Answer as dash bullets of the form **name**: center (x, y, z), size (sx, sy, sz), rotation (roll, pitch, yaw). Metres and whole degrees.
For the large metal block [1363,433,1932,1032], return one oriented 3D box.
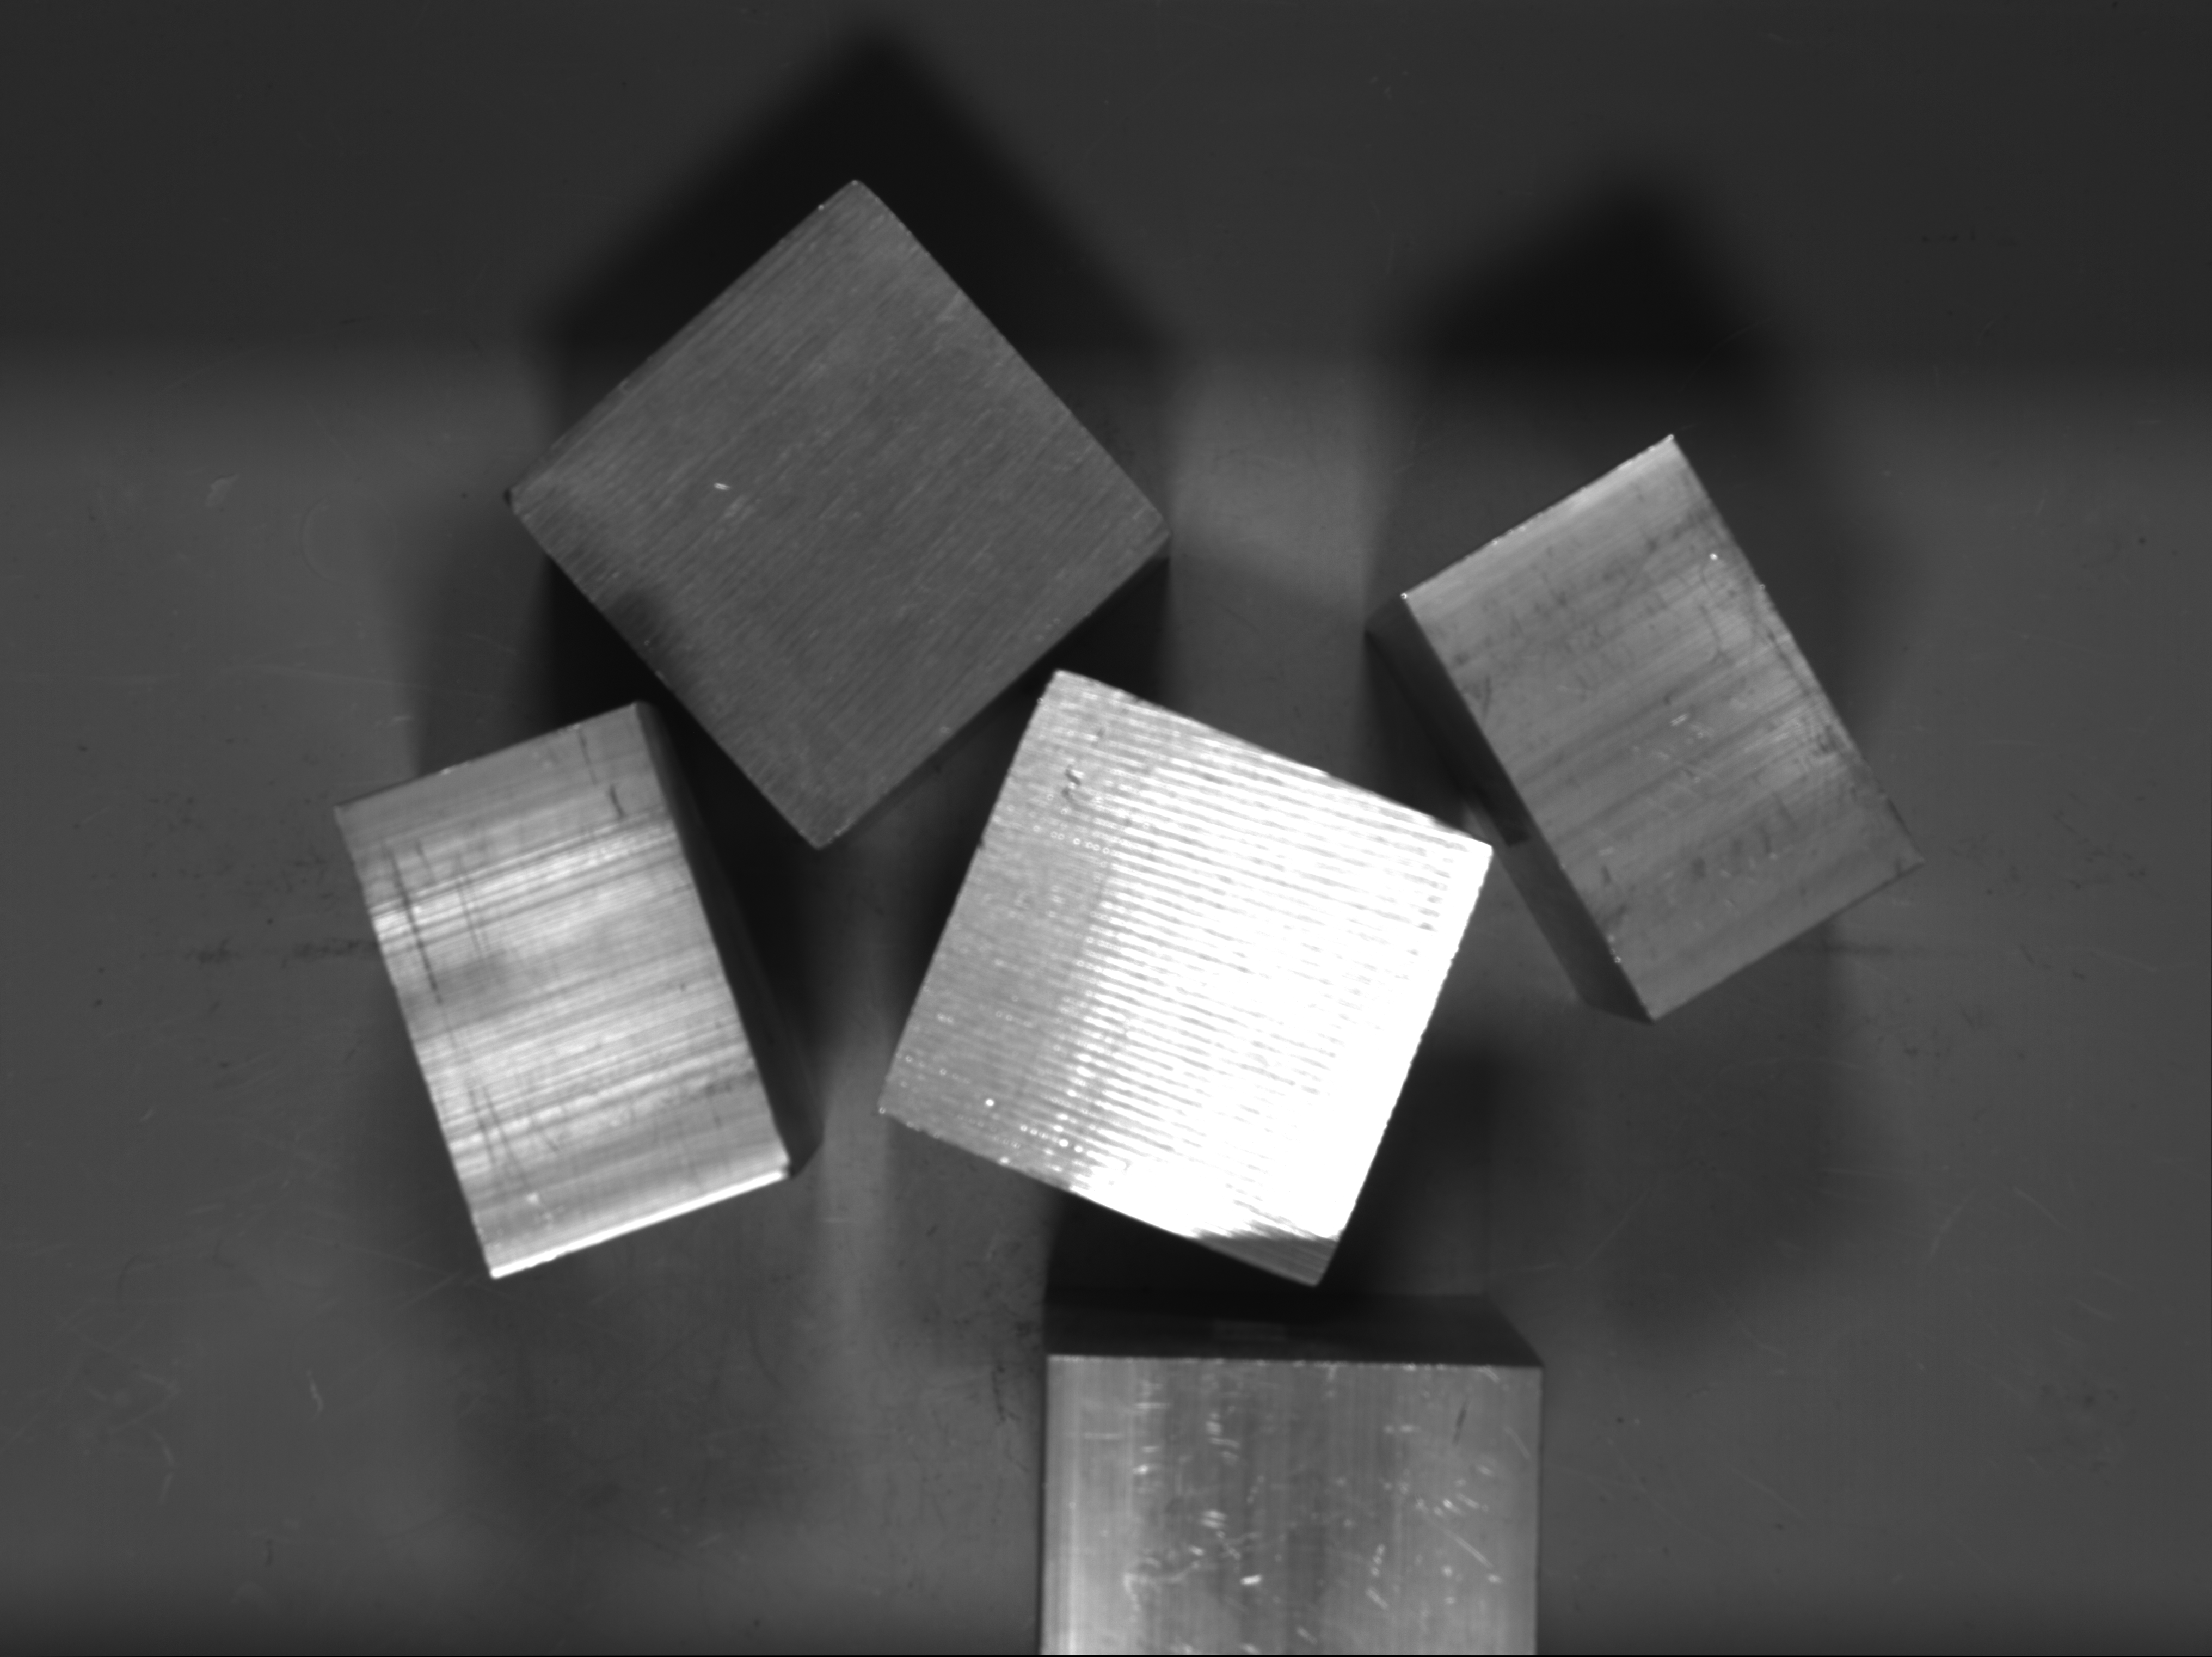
- **large metal block**: center (0.088, -0.015, 0.617), size (0.050, 0.080, 0.080), rotation (-31, 90, 0)

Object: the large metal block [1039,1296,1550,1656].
- **large metal block**: center (0.030, 0.109, 0.617), size (0.080, 0.080, 0.050), rotation (1, 90, 0)

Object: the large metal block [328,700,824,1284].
- **large metal block**: center (-0.086, 0.026, 0.616), size (0.050, 0.080, 0.080), rotation (-19, 90, 0)

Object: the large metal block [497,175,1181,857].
- **large metal block**: center (-0.044, -0.052, 0.631), size (0.080, 0.050, 0.080), rotation (-42, 90, 0)

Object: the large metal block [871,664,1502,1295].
- **large metal block**: center (0.013, 0.025, 0.632), size (0.080, 0.050, 0.080), rotation (23, 90, 0)
